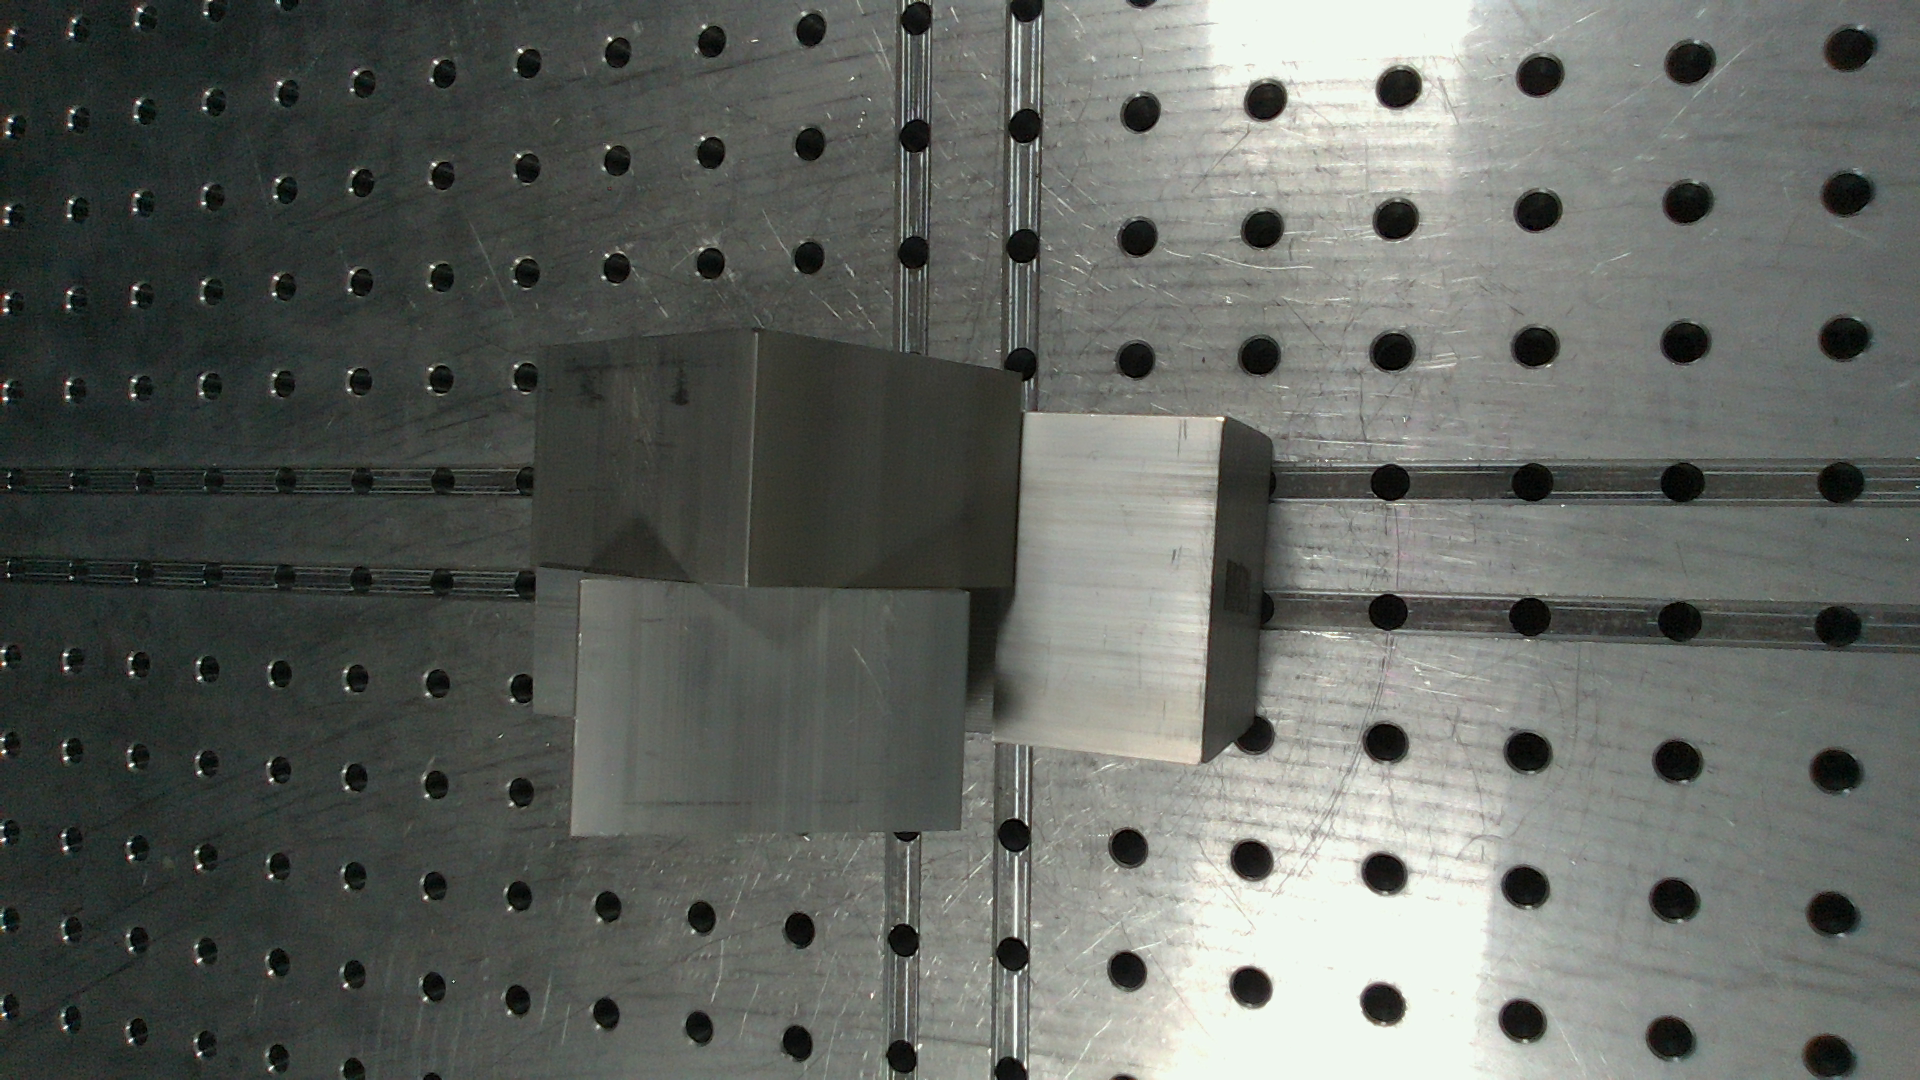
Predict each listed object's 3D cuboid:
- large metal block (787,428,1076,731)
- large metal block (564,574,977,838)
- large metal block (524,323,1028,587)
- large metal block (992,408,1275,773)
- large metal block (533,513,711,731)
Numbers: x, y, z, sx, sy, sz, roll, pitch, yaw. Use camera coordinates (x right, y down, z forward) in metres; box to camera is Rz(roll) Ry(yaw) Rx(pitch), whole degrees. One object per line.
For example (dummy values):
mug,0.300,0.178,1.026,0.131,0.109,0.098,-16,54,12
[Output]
large metal block,-0.009,0.008,0.386,0.080,0.050,0.080,3,91,20
large metal block,-0.045,0.034,0.314,0.080,0.080,0.050,3,91,-13
large metal block,-0.042,-0.017,0.316,0.080,0.080,0.050,3,91,43
large metal block,0.047,0.010,0.352,0.050,0.080,0.080,4,92,20
large metal block,-0.076,0.008,0.397,0.050,0.080,0.080,2,91,20
